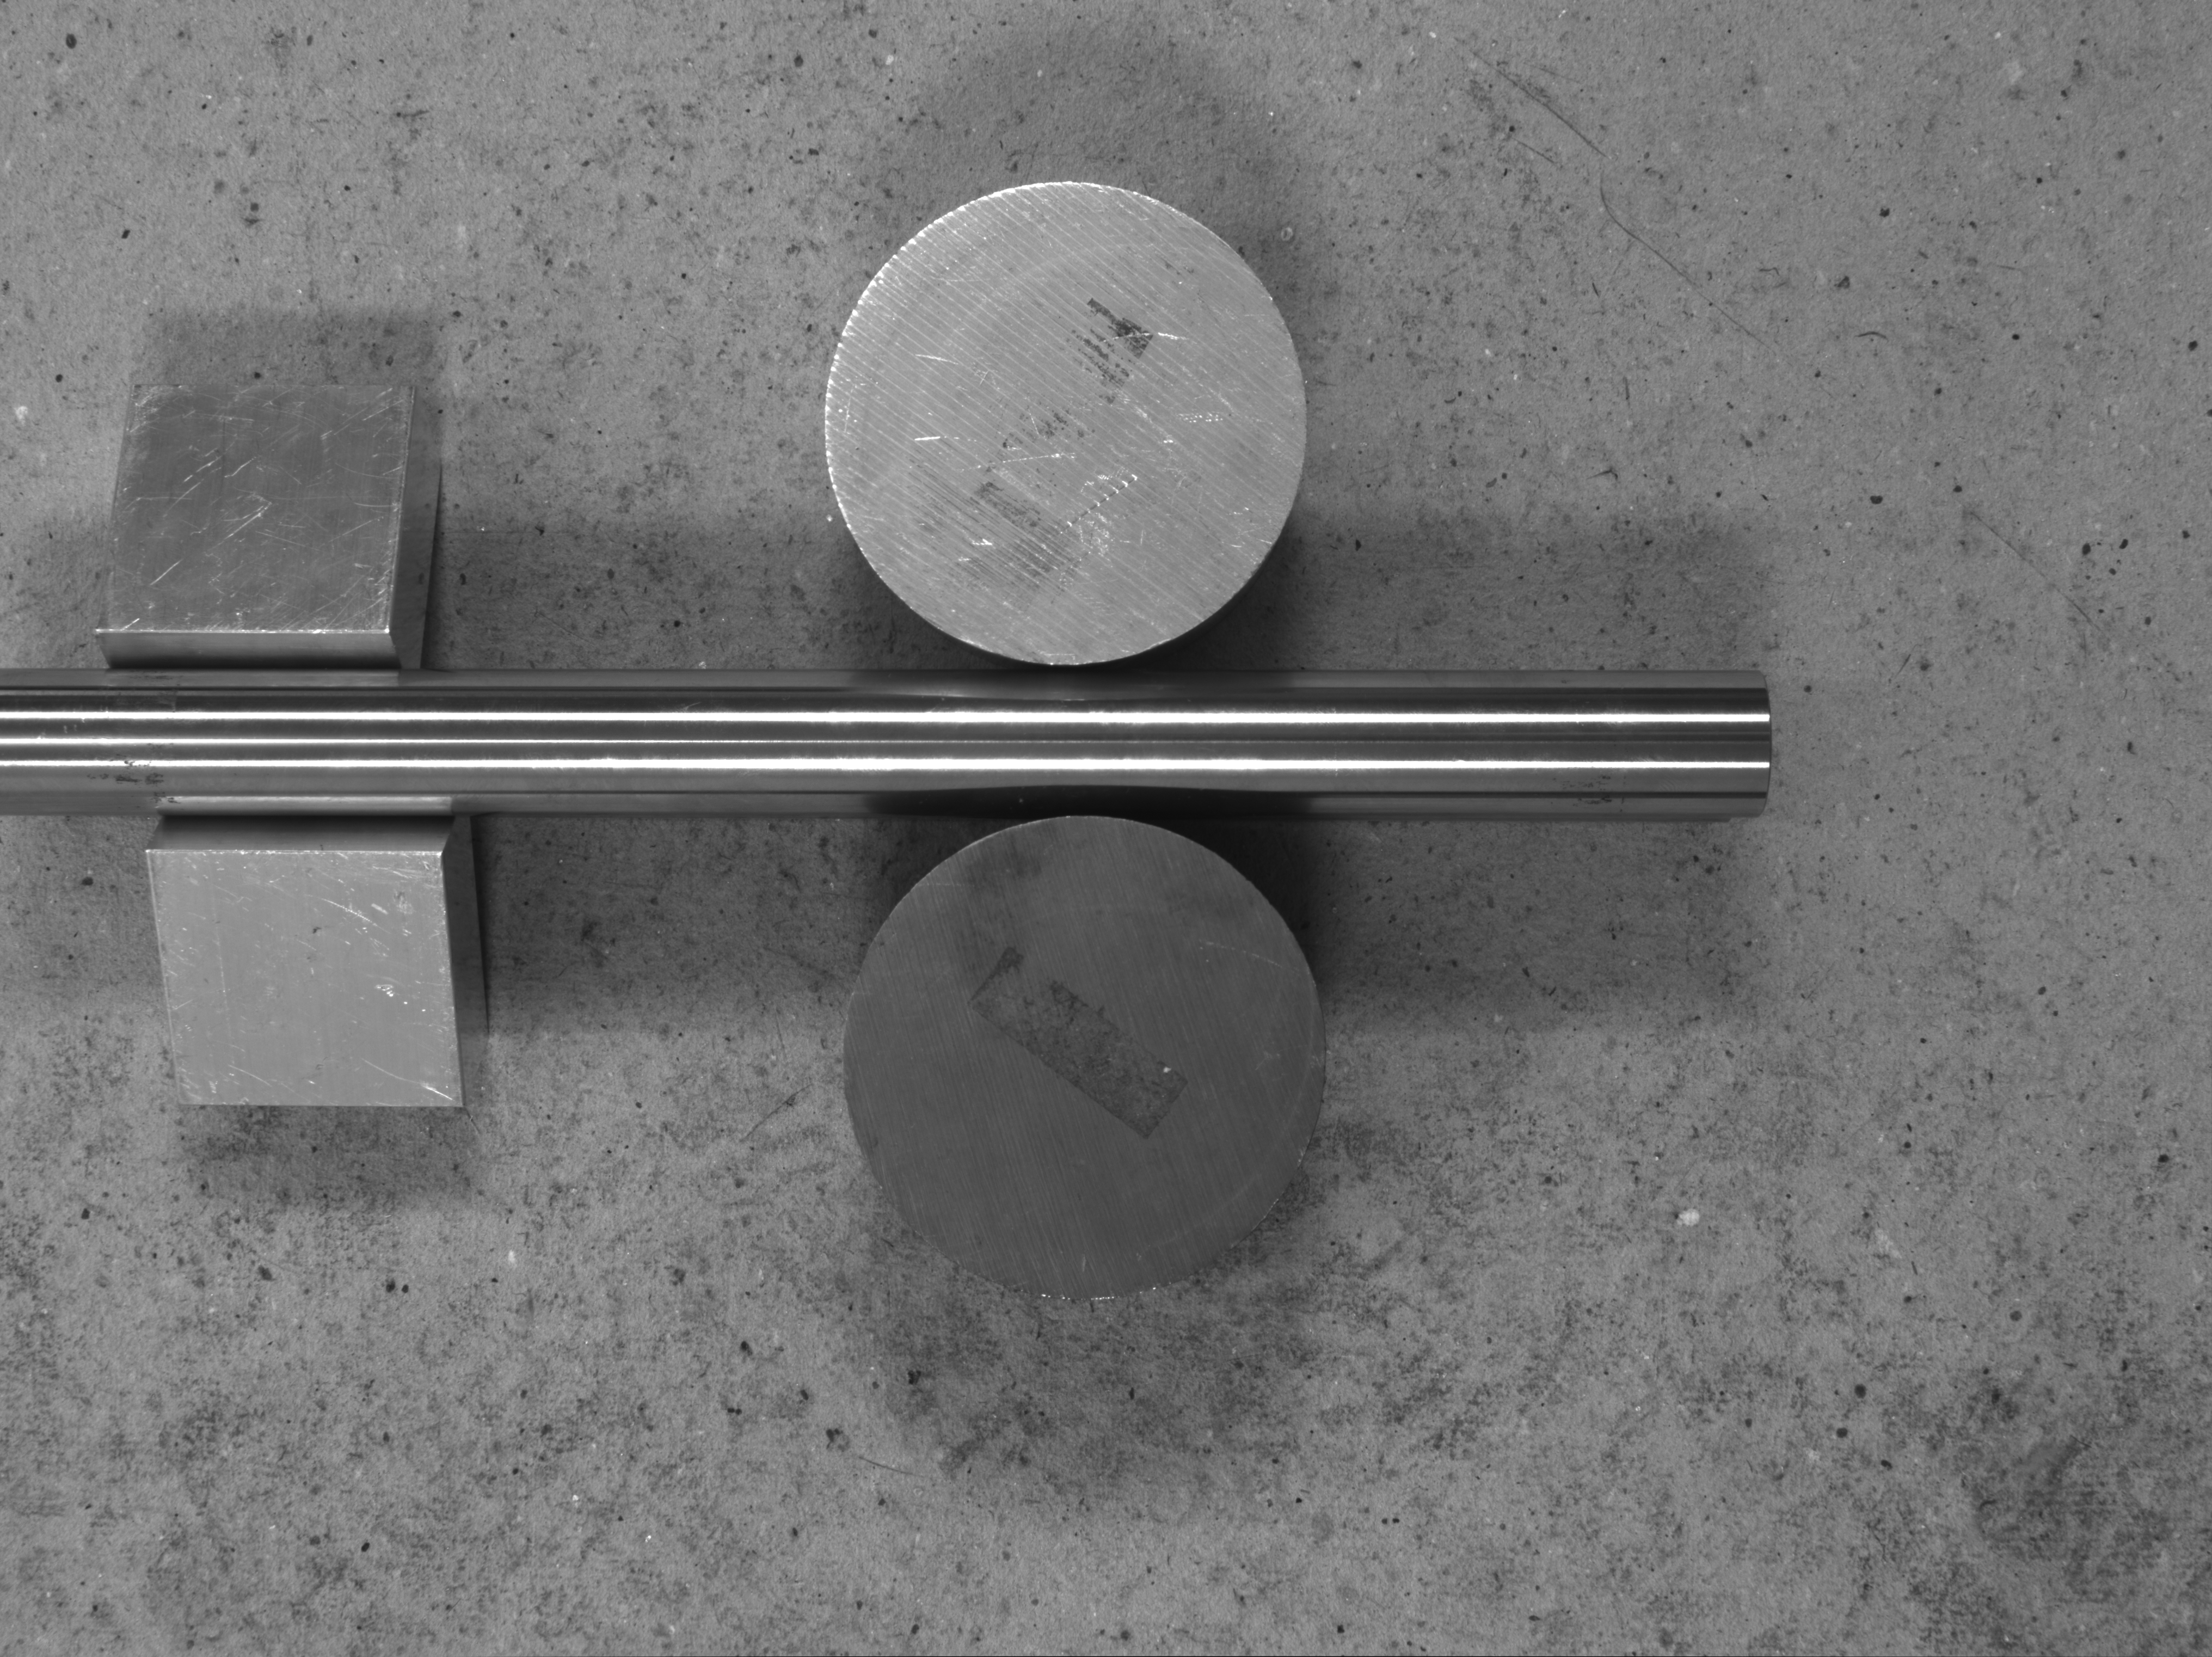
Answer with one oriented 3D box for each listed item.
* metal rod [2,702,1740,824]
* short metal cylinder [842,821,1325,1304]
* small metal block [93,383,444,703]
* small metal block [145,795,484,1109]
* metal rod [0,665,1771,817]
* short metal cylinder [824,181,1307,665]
[{"bbox_3d":[-0.040,-0.014,0.646,0.300,0.025,0.025,0,90,0],"label":"metal rod"},{"bbox_3d":[-0.004,0.039,0.633,0.080,0.050,0.080,0,90,0],"label":"short metal cylinder"},{"bbox_3d":[-0.144,-0.049,0.637,0.050,0.025,0.050,0,63,0],"label":"small metal block"},{"bbox_3d":[-0.136,0.020,0.636,0.050,0.025,0.050,0,116,0],"label":"small metal block"},{"bbox_3d":[-0.040,-0.015,0.621,0.300,0.025,0.025,0,90,0],"label":"metal rod"},{"bbox_3d":[-0.006,-0.067,0.634,0.080,0.050,0.080,0,90,0],"label":"short metal cylinder"}]
